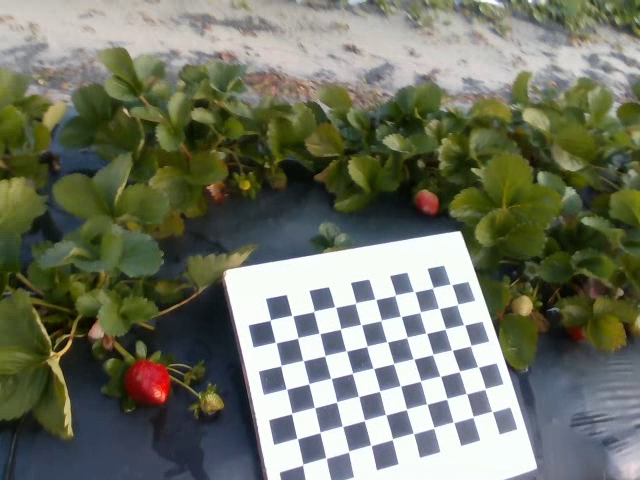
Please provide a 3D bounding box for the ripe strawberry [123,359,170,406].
[{"bbox_3d":[-0.158,0.141,0.597,0.043,0.052,0.057,-38,24,-21],"label":"ripe strawberry"}]
